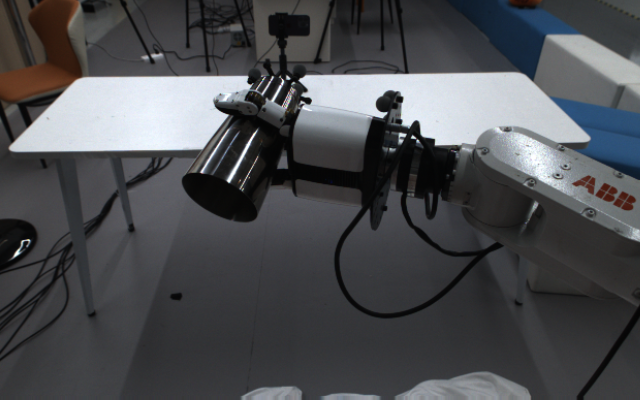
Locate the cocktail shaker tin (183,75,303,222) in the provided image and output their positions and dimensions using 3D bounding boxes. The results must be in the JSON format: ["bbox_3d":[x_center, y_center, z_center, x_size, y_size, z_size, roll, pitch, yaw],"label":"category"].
[{"bbox_3d":[-0.084,-0.069,0.581,0.093,0.093,0.170,13,58,16],"label":"cocktail shaker tin"}]
